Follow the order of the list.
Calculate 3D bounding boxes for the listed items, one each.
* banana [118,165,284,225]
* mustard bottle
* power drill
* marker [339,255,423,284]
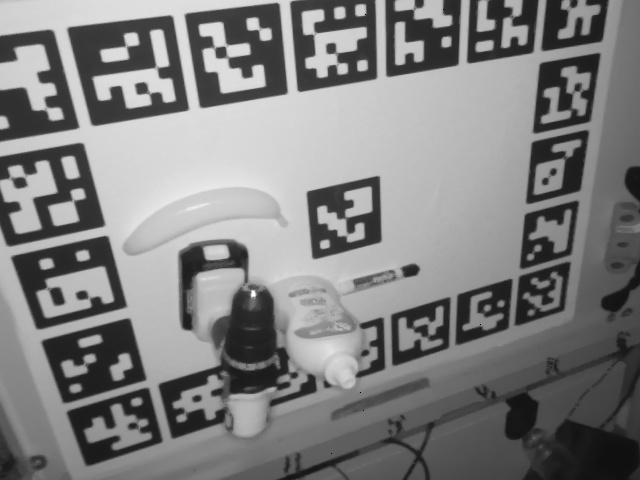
[{"bbox_3d":[-0.136,-0.051,0.819,0.200,0.038,0.073,-6,114,-20],"label":"banana"},{"bbox_3d":[-0.008,0.095,0.845,0.097,0.191,0.058,-2,115,-18],"label":"mustard bottle"},{"bbox_3d":[-0.108,0.068,0.774,0.058,0.187,0.183,1,116,-18],"label":"power drill"},{"bbox_3d":[0.086,0.040,0.957,0.122,0.019,0.019,-11,117,-16],"label":"marker"}]
